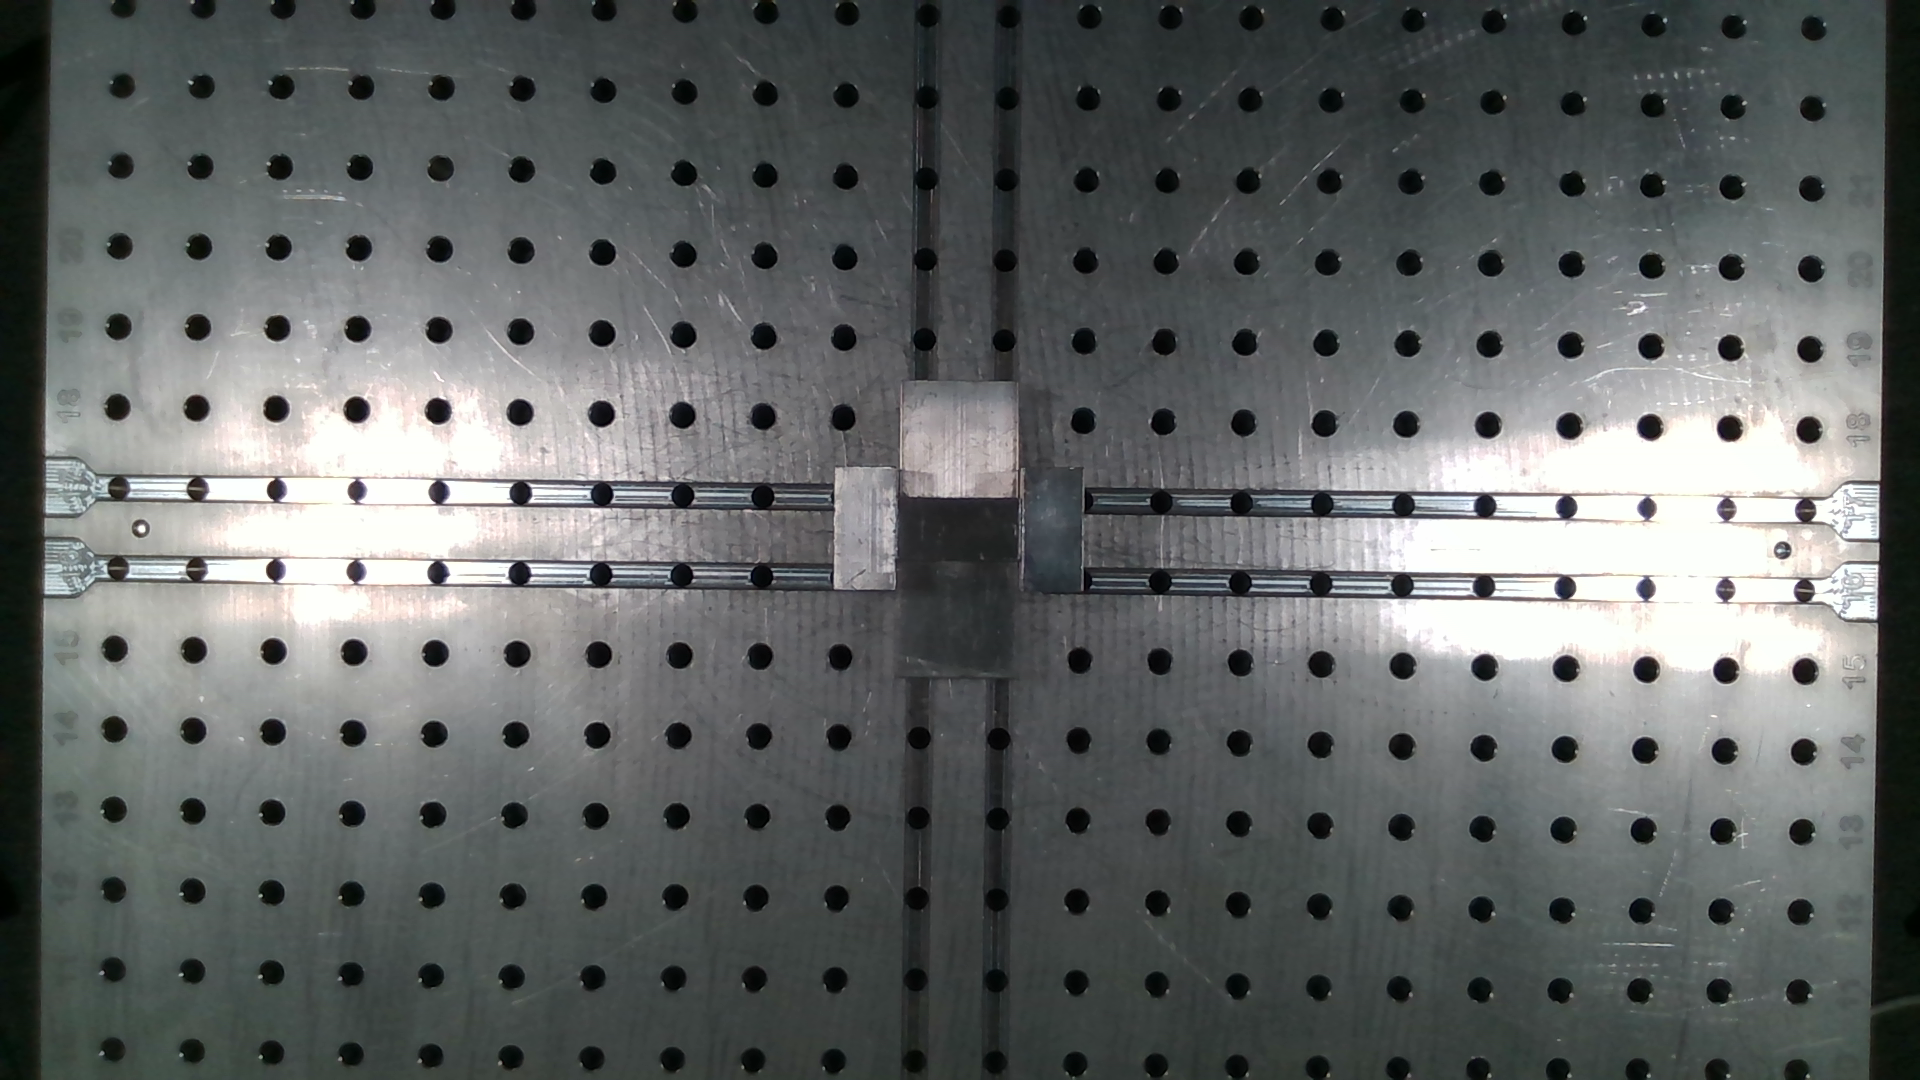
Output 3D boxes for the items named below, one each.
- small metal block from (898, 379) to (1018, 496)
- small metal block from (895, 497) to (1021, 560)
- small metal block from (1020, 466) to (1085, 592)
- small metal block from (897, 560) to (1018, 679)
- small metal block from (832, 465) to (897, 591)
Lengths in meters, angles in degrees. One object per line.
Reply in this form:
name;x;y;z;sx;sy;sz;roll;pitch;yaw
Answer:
small metal block;-0.001;-0.042;0.589;0.050;0.025;0.050;0;90;0
small metal block;-0.001;-0.005;0.576;0.050;0.050;0.025;1;90;0
small metal block;0.037;-0.004;0.577;0.025;0.050;0.050;1;90;0
small metal block;-0.001;0.033;0.589;0.050;0.025;0.050;1;90;0
small metal block;-0.038;-0.005;0.576;0.025;0.050;0.050;1;90;0
